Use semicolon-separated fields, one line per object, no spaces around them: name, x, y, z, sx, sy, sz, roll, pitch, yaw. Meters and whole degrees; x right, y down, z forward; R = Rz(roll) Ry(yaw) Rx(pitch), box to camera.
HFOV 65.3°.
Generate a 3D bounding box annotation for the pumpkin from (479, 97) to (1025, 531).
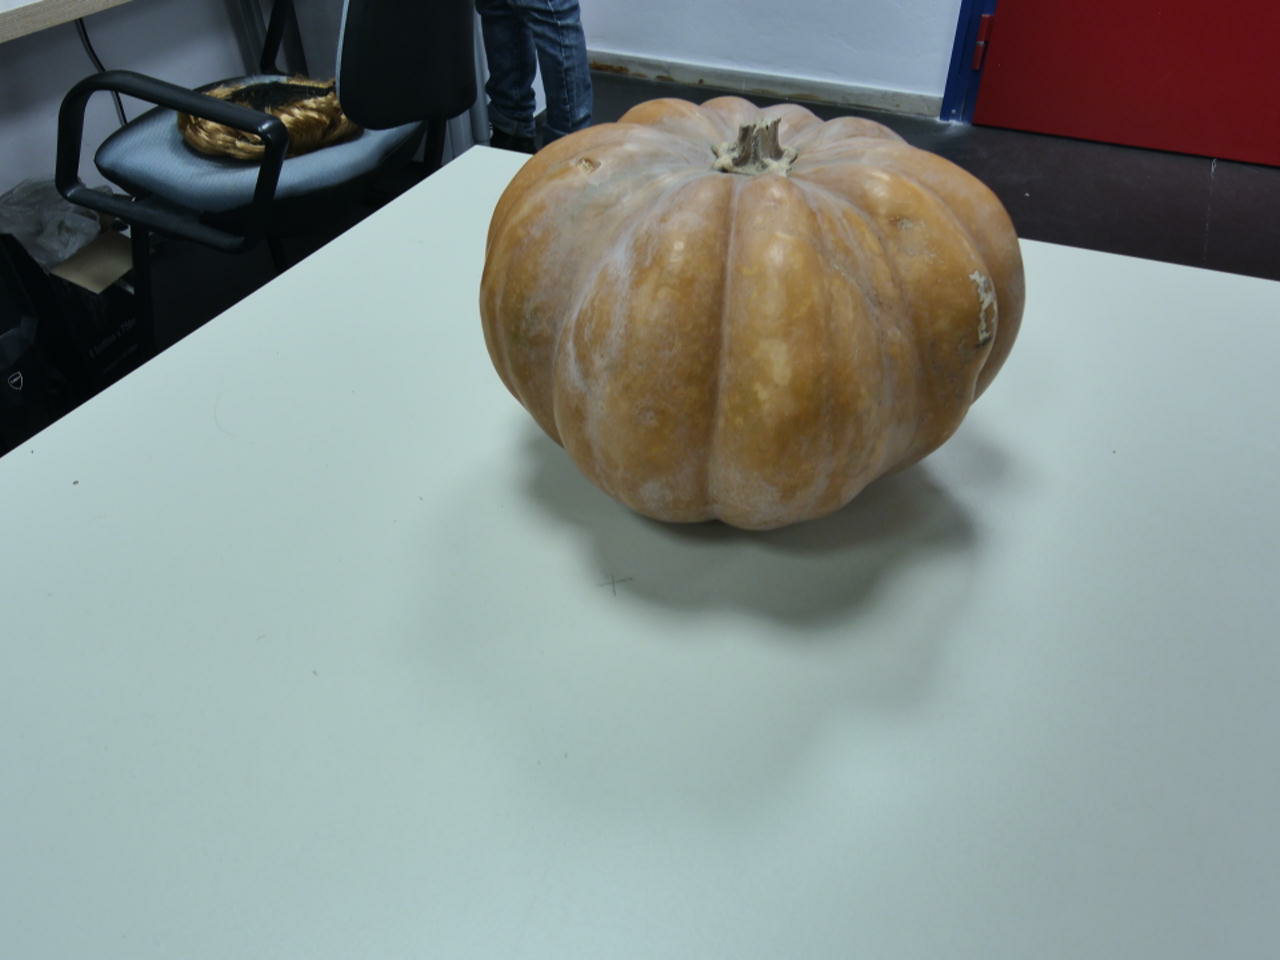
pumpkin;0.050;-0.093;0.514;0.277;0.181;0.277;0;38;0
